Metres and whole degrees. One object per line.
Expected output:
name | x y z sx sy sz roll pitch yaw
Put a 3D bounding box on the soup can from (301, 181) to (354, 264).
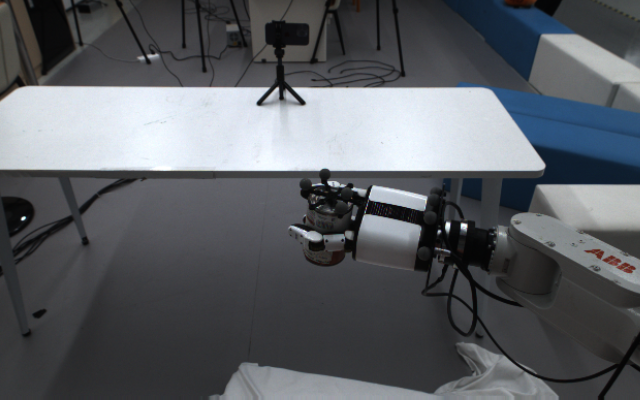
soup can | 0.011 0.040 0.717 0.067 0.101 0.067 5 36 -4
